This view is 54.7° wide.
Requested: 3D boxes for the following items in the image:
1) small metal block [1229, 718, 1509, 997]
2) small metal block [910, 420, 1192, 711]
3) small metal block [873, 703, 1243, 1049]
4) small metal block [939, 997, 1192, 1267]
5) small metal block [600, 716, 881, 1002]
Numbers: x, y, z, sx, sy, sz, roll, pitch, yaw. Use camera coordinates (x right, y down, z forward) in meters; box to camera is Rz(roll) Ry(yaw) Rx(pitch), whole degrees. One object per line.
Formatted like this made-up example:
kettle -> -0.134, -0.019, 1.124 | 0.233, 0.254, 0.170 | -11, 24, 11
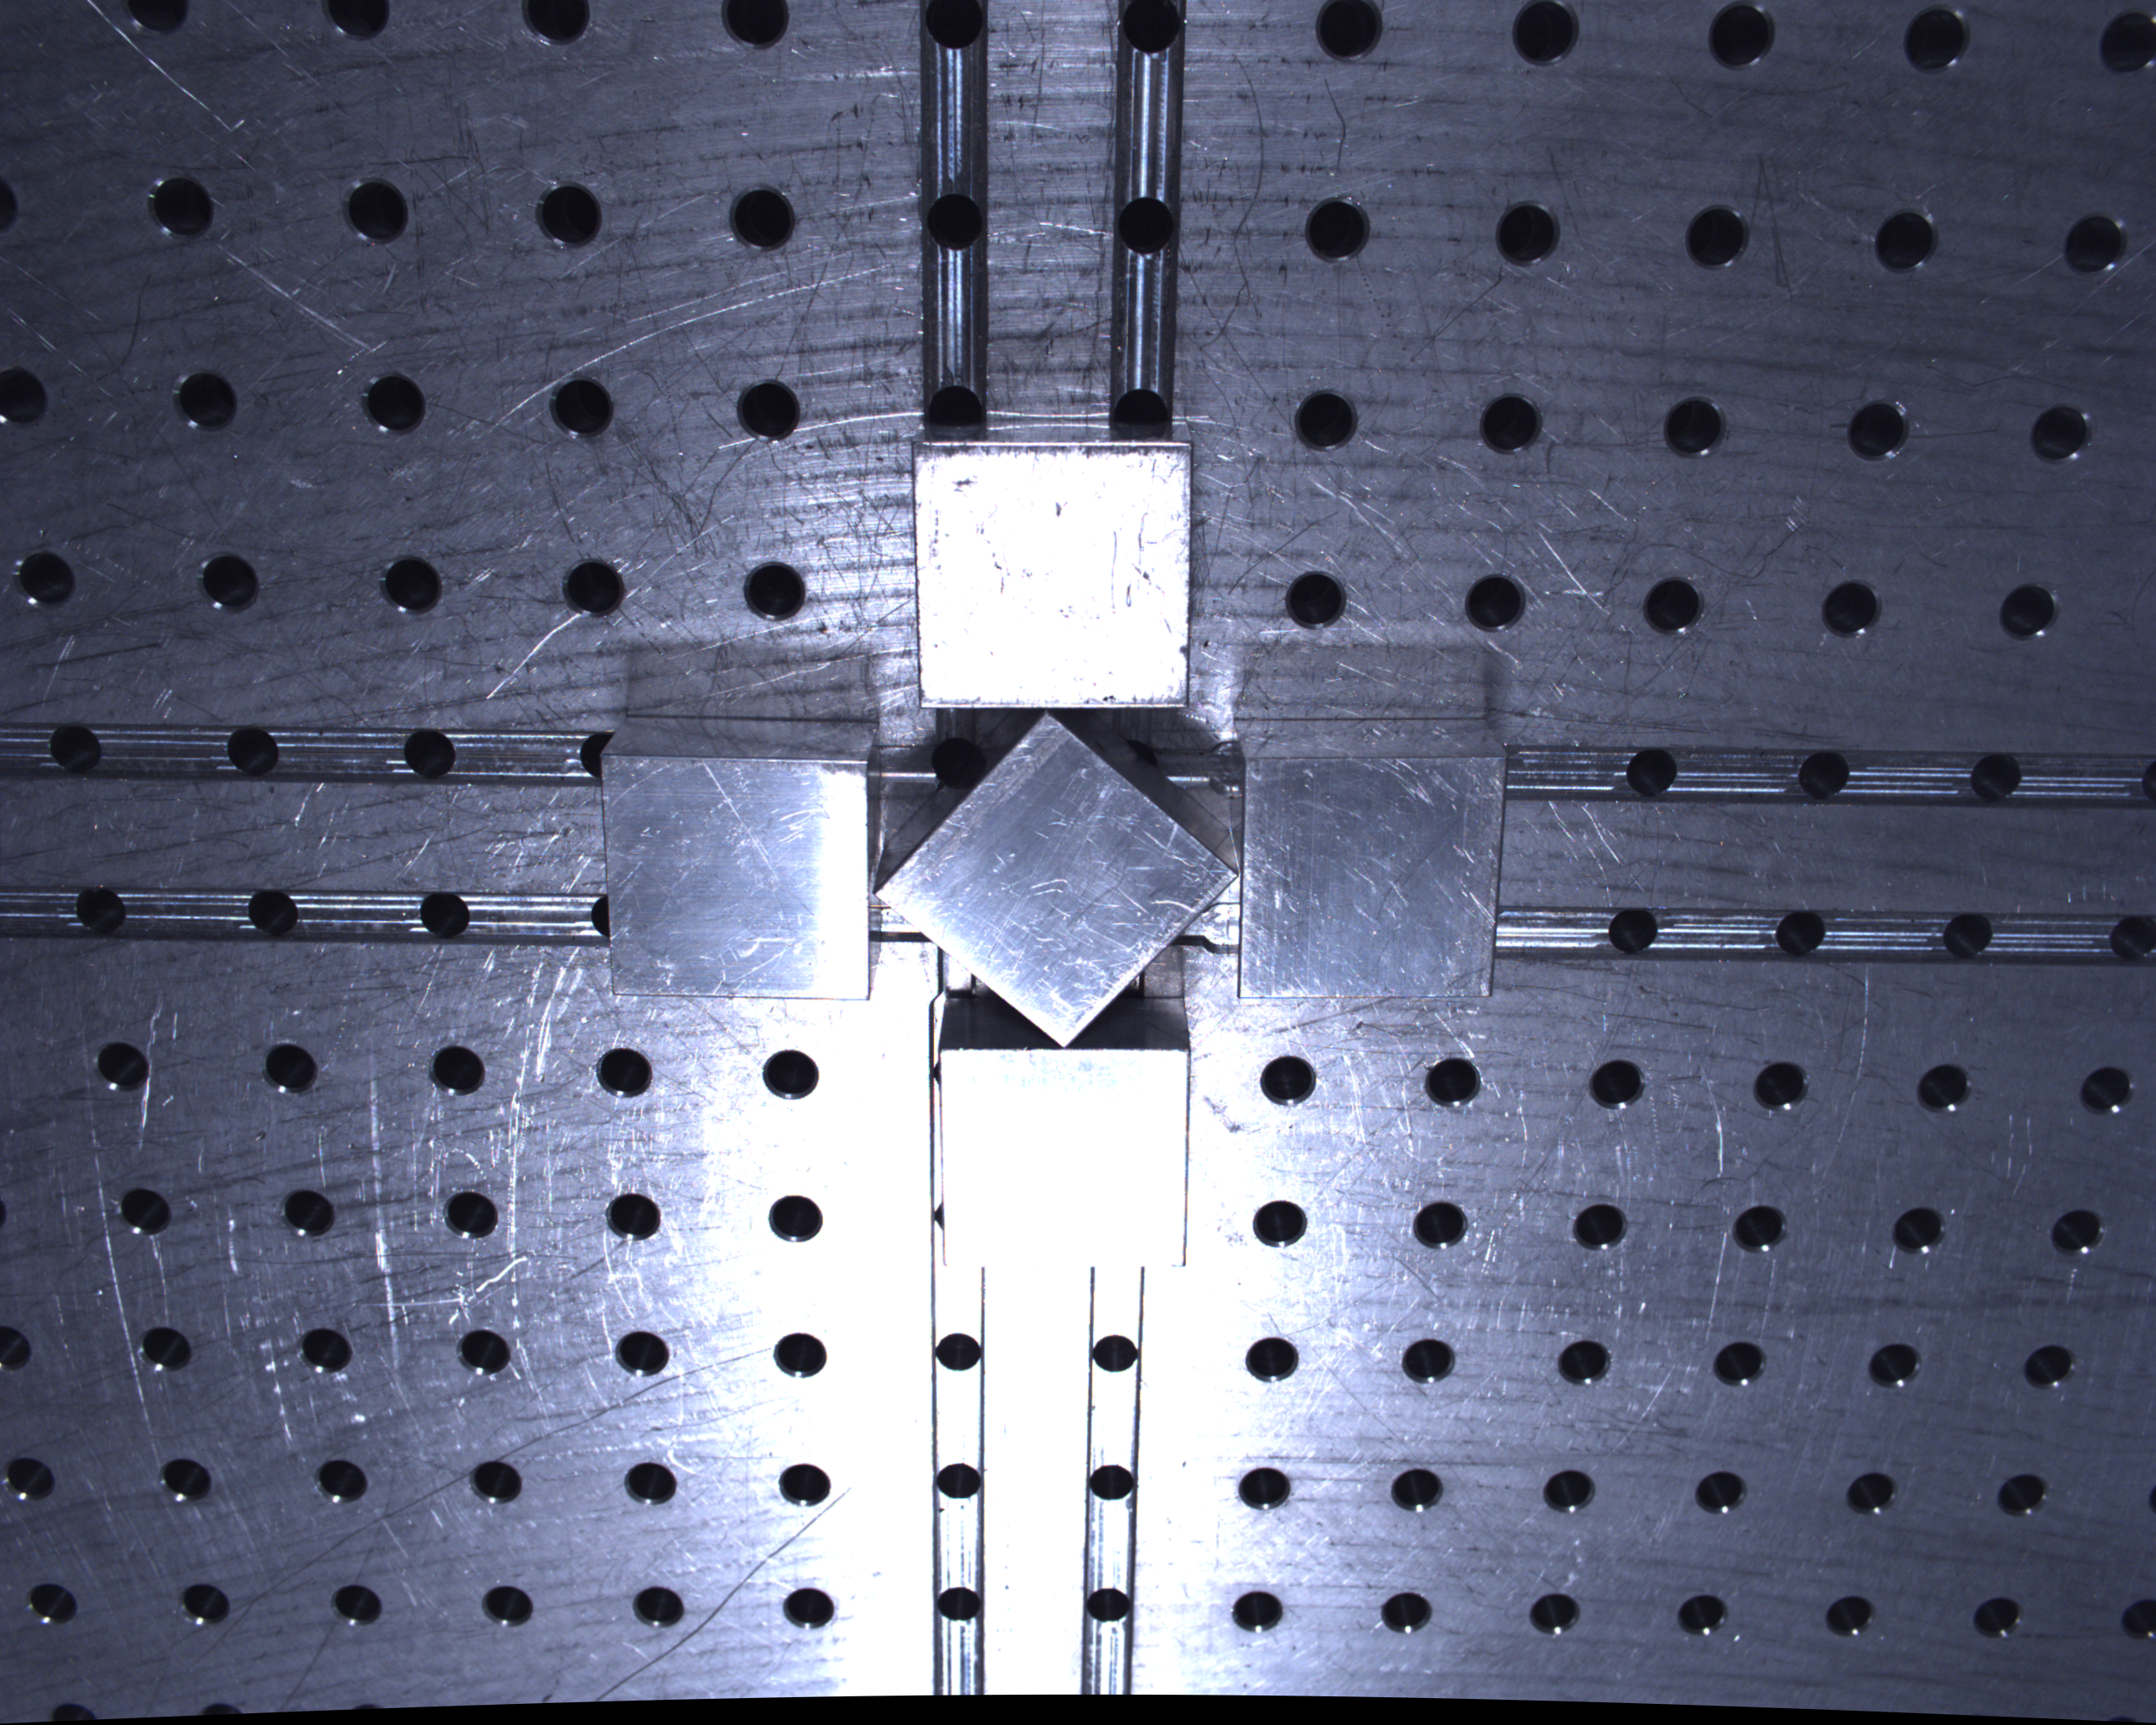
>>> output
small metal block -> 0.056, -0.001, 0.414 | 0.050, 0.025, 0.050 | 0, 110, -1
small metal block -> -0.005, -0.056, 0.393 | 0.050, 0.025, 0.050 | -1, 110, -1
small metal block -> -0.004, 0.000, 0.413 | 0.050, 0.025, 0.050 | 40, 105, -14
small metal block -> -0.003, 0.056, 0.434 | 0.050, 0.025, 0.050 | 0, 110, -1
small metal block -> -0.065, -0.001, 0.412 | 0.050, 0.025, 0.050 | 1, 110, -1
